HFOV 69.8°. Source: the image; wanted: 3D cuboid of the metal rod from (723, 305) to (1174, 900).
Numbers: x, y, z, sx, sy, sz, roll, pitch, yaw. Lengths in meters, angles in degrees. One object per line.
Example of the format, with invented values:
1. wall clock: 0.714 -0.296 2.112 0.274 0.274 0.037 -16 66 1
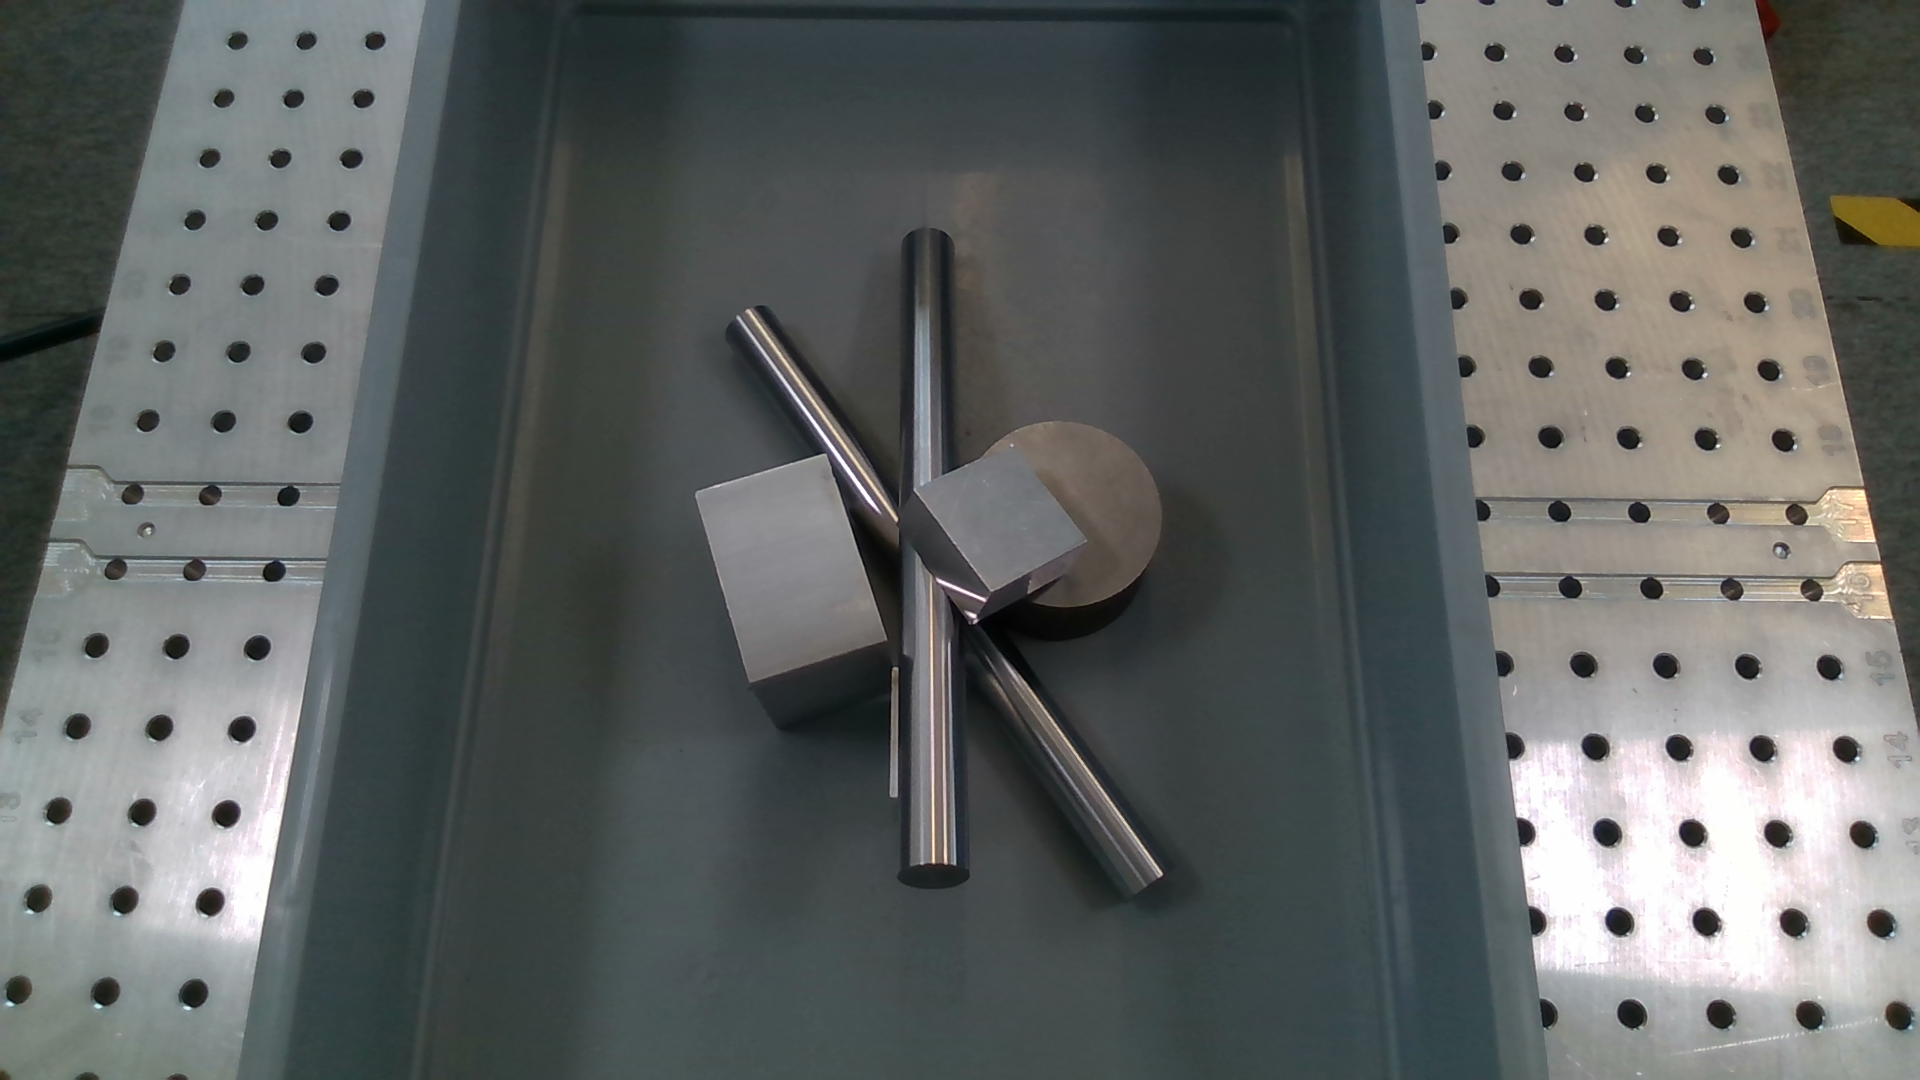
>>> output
1. metal rod: -0.011 0.018 0.581 0.025 0.025 0.299 -33 74 -11

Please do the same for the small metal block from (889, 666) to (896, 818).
1. small metal block: -0.014 0.081 0.545 0.025 0.050 0.050 0 69 0

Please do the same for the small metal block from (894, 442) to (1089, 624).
1. small metal block: 0.012 -0.003 0.526 0.050 0.025 0.050 -26 71 -33

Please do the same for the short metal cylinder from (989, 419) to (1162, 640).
1. short metal cylinder: 0.041 -0.003 0.575 0.080 0.050 0.080 0 70 -1

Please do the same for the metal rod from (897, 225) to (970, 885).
1. metal rod: -0.012 -0.011 0.554 0.025 0.025 0.299 -1 57 0

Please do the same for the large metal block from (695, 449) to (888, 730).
1. large metal block: -0.064 0.022 0.549 0.050 0.080 0.080 -17 71 -6
